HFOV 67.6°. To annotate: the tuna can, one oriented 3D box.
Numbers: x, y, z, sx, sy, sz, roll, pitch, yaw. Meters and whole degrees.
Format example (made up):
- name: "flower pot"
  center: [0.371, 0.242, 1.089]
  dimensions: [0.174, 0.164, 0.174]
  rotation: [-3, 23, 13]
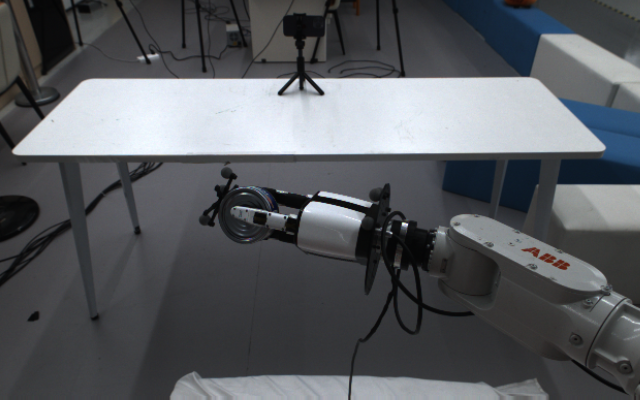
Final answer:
- name: "tuna can"
  center: [-0.103, 0.025, 0.713]
  dimensions: [0.085, 0.085, 0.034]
  rotation: [10, 5, 11]
